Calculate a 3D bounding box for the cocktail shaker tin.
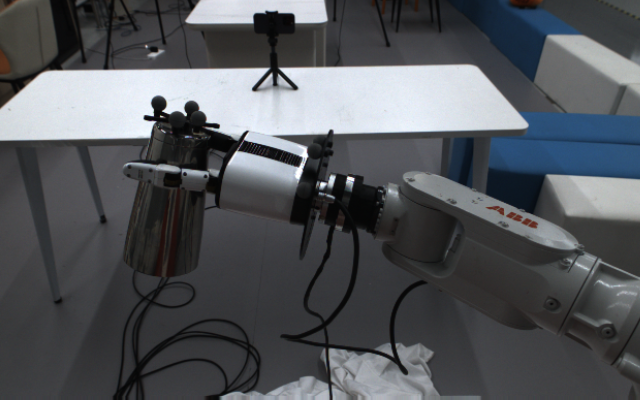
[{"bbox_3d":[-0.178,-0.006,0.587,0.093,0.170,0.093,14,18,-5],"label":"cocktail shaker tin"}]
